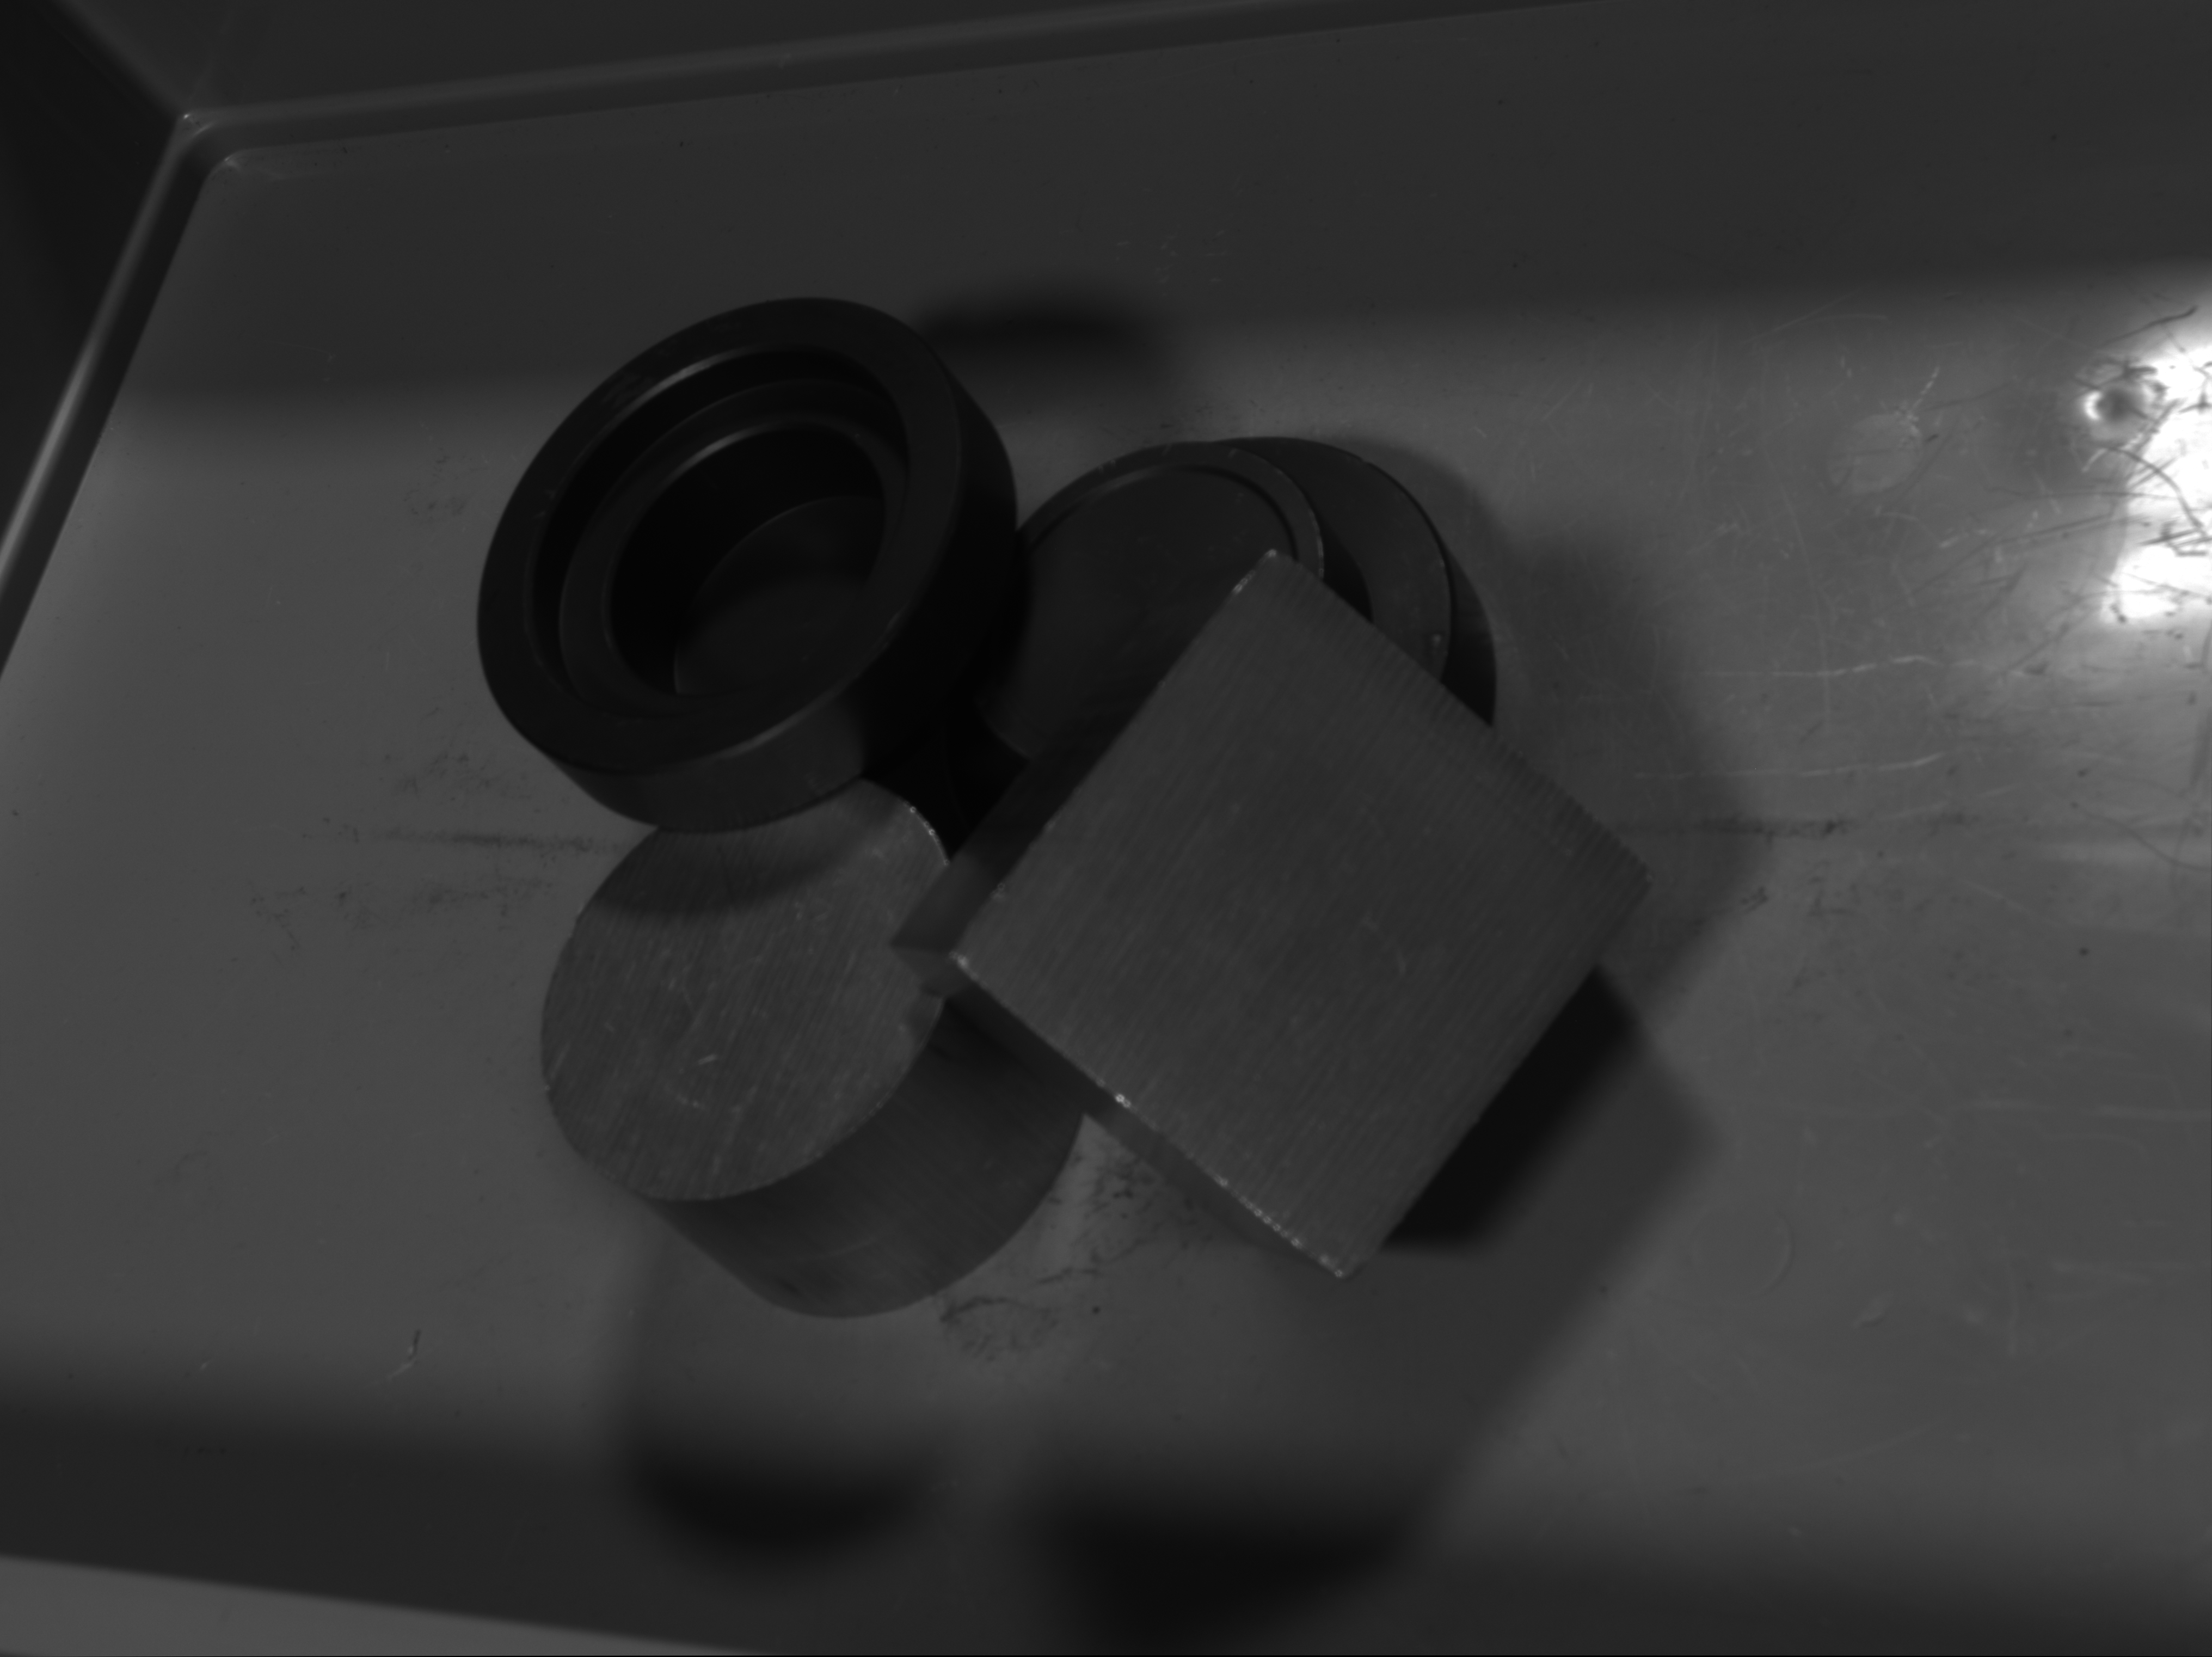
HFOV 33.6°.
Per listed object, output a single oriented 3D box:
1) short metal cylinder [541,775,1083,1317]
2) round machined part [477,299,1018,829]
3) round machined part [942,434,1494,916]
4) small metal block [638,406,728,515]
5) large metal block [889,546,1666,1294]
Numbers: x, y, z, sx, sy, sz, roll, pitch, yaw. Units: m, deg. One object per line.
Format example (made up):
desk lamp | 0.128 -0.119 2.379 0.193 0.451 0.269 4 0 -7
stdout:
short metal cylinder | -0.050 0.037 0.630 0.080 0.050 0.080 -13 56 21
round machined part | -0.059 -0.042 0.652 0.098 0.042 0.098 -13 56 21
round machined part | 0.015 -0.029 0.639 0.098 0.042 0.098 -13 56 21
small metal block | -0.065 -0.065 0.701 0.050 0.050 0.025 -40 51 2
large metal block | 0.026 0.014 0.576 0.080 0.080 0.050 -51 10 -9
